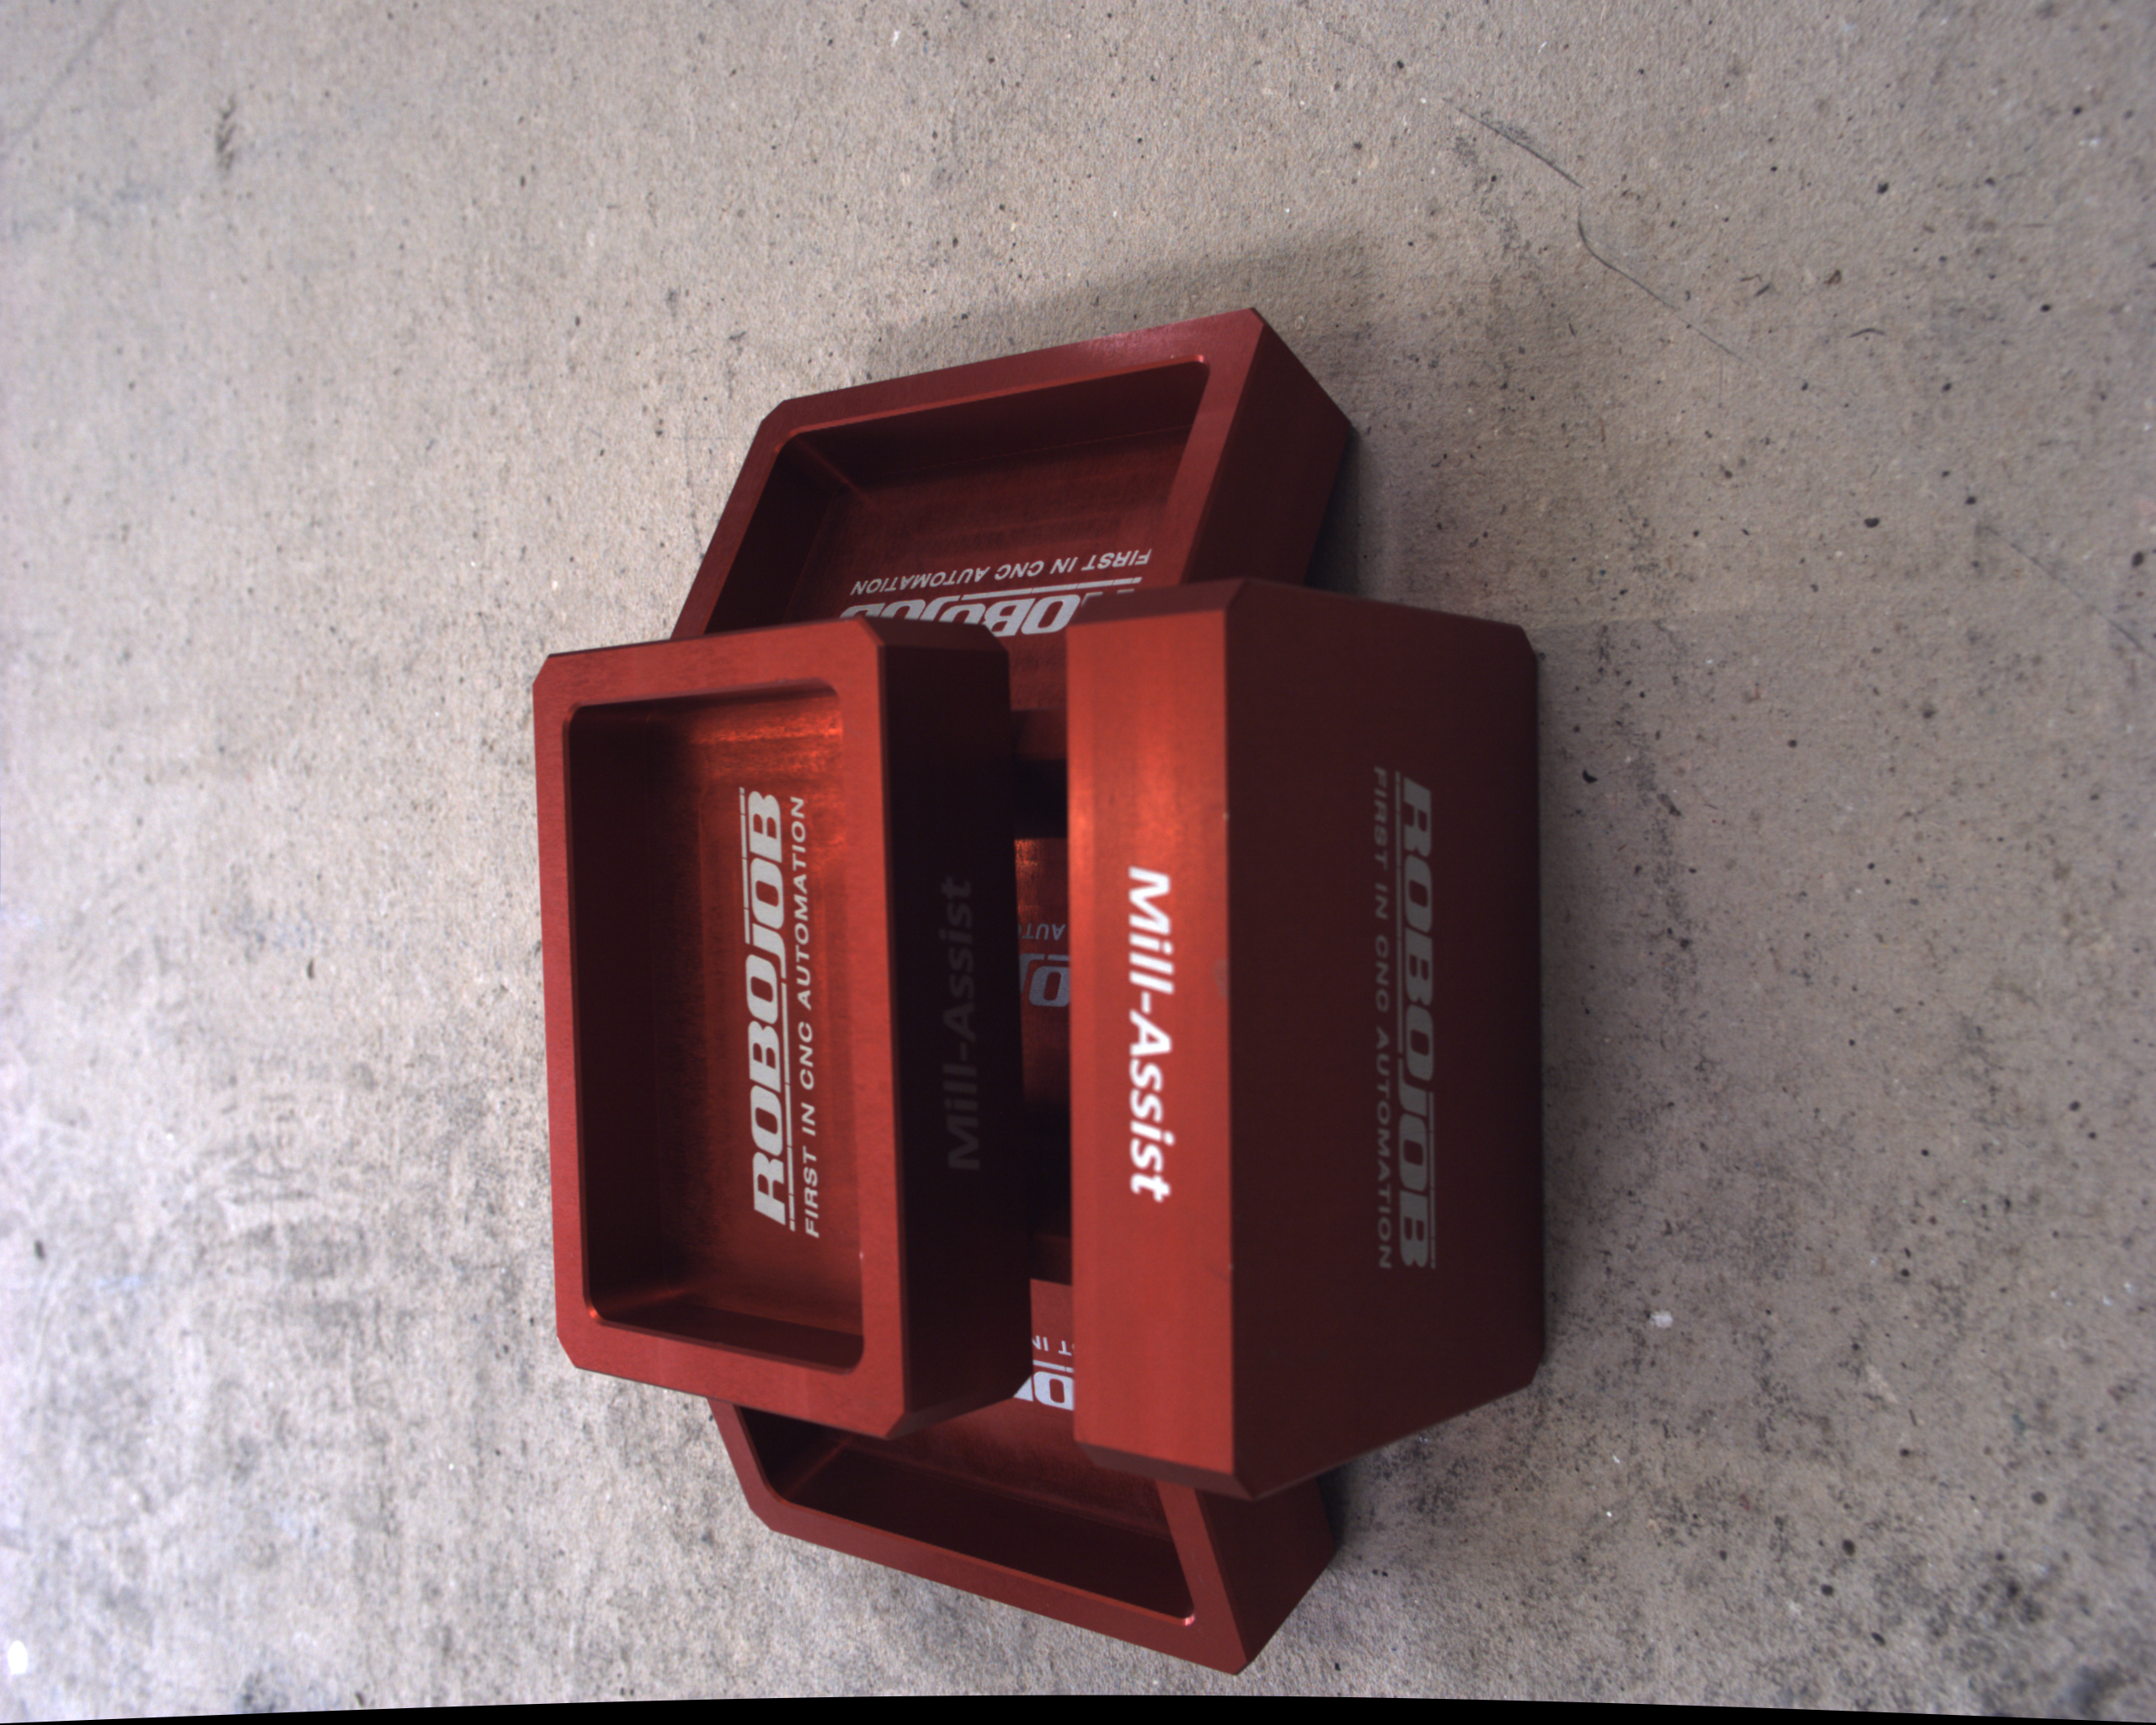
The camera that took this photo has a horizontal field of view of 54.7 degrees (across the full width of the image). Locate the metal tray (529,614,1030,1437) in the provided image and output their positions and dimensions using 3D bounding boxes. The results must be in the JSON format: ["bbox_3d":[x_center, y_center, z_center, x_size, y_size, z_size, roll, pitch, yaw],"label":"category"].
[{"bbox_3d":[-0.054,0.026,0.363,0.090,0.030,0.129,-1,92,40],"label":"metal tray"}]

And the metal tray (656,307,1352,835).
[{"bbox_3d":[-0.020,-0.051,0.397,0.130,0.030,0.090,0,63,39],"label":"metal tray"}]

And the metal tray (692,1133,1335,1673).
[{"bbox_3d":[-0.022,0.095,0.399,0.130,0.030,0.089,0,115,40],"label":"metal tray"}]

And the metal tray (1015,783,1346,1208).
[{"bbox_3d":[-0.006,0.019,0.406,0.130,0.030,0.089,-1,91,40],"label":"metal tray"}]

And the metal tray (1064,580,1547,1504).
[{"bbox_3d":[0.039,0.025,0.331,0.030,0.091,0.129,-1,90,40],"label":"metal tray"}]
